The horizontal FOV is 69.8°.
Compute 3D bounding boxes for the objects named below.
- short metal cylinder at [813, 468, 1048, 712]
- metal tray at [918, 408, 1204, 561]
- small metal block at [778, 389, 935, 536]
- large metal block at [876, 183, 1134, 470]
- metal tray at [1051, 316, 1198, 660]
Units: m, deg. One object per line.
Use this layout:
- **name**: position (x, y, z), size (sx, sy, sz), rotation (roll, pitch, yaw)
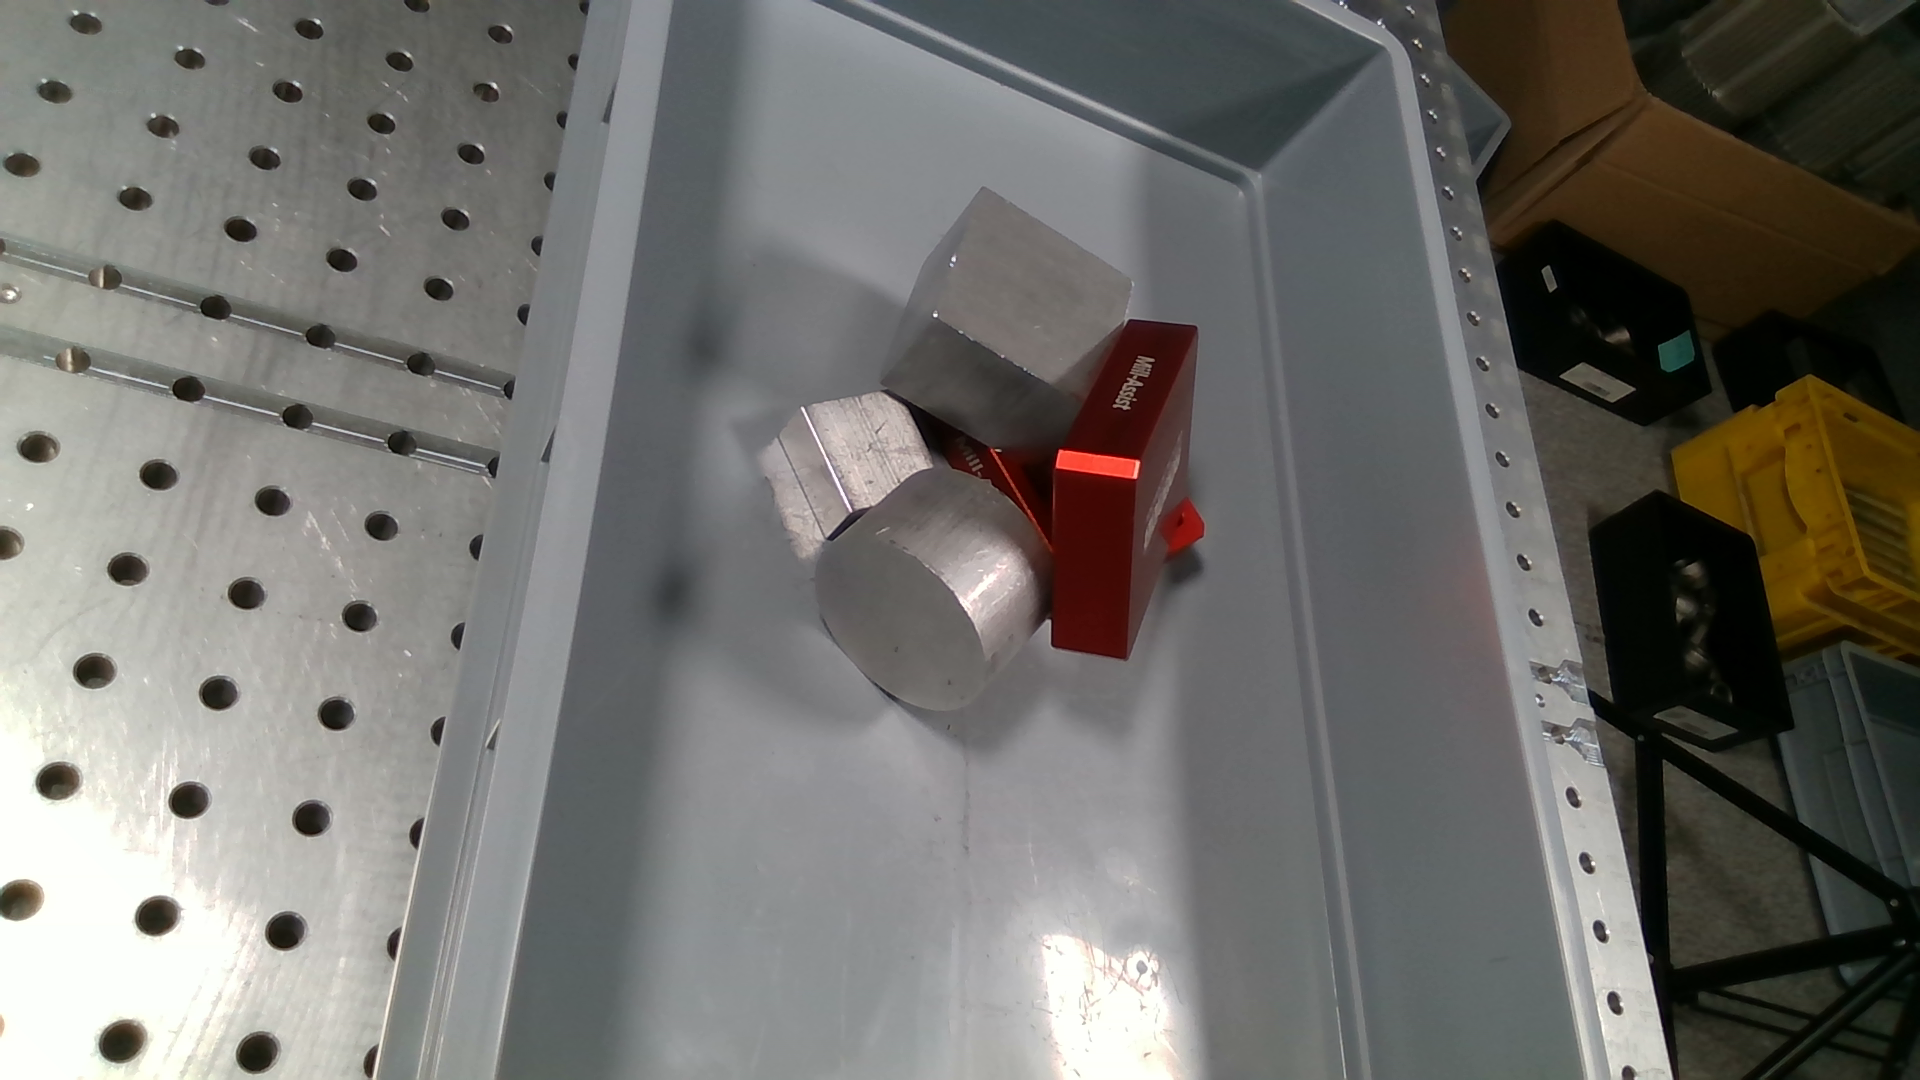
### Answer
- **short metal cylinder**: position (-0.010, 0.019, 0.533), size (0.080, 0.080, 0.050), rotation (47, 51, -2)
- **metal tray**: position (0.044, -0.039, 0.629), size (0.090, 0.030, 0.130), rotation (-23, 79, -38)
- **small metal block**: position (-0.041, -0.033, 0.577), size (0.050, 0.025, 0.050), rotation (-17, 75, -37)
- **large metal block**: position (0.021, -0.091, 0.589), size (0.080, 0.050, 0.080), rotation (29, 54, -16)
- **metal tray**: position (0.069, -0.024, 0.560), size (0.030, 0.090, 0.130), rotation (9, 34, 16)
